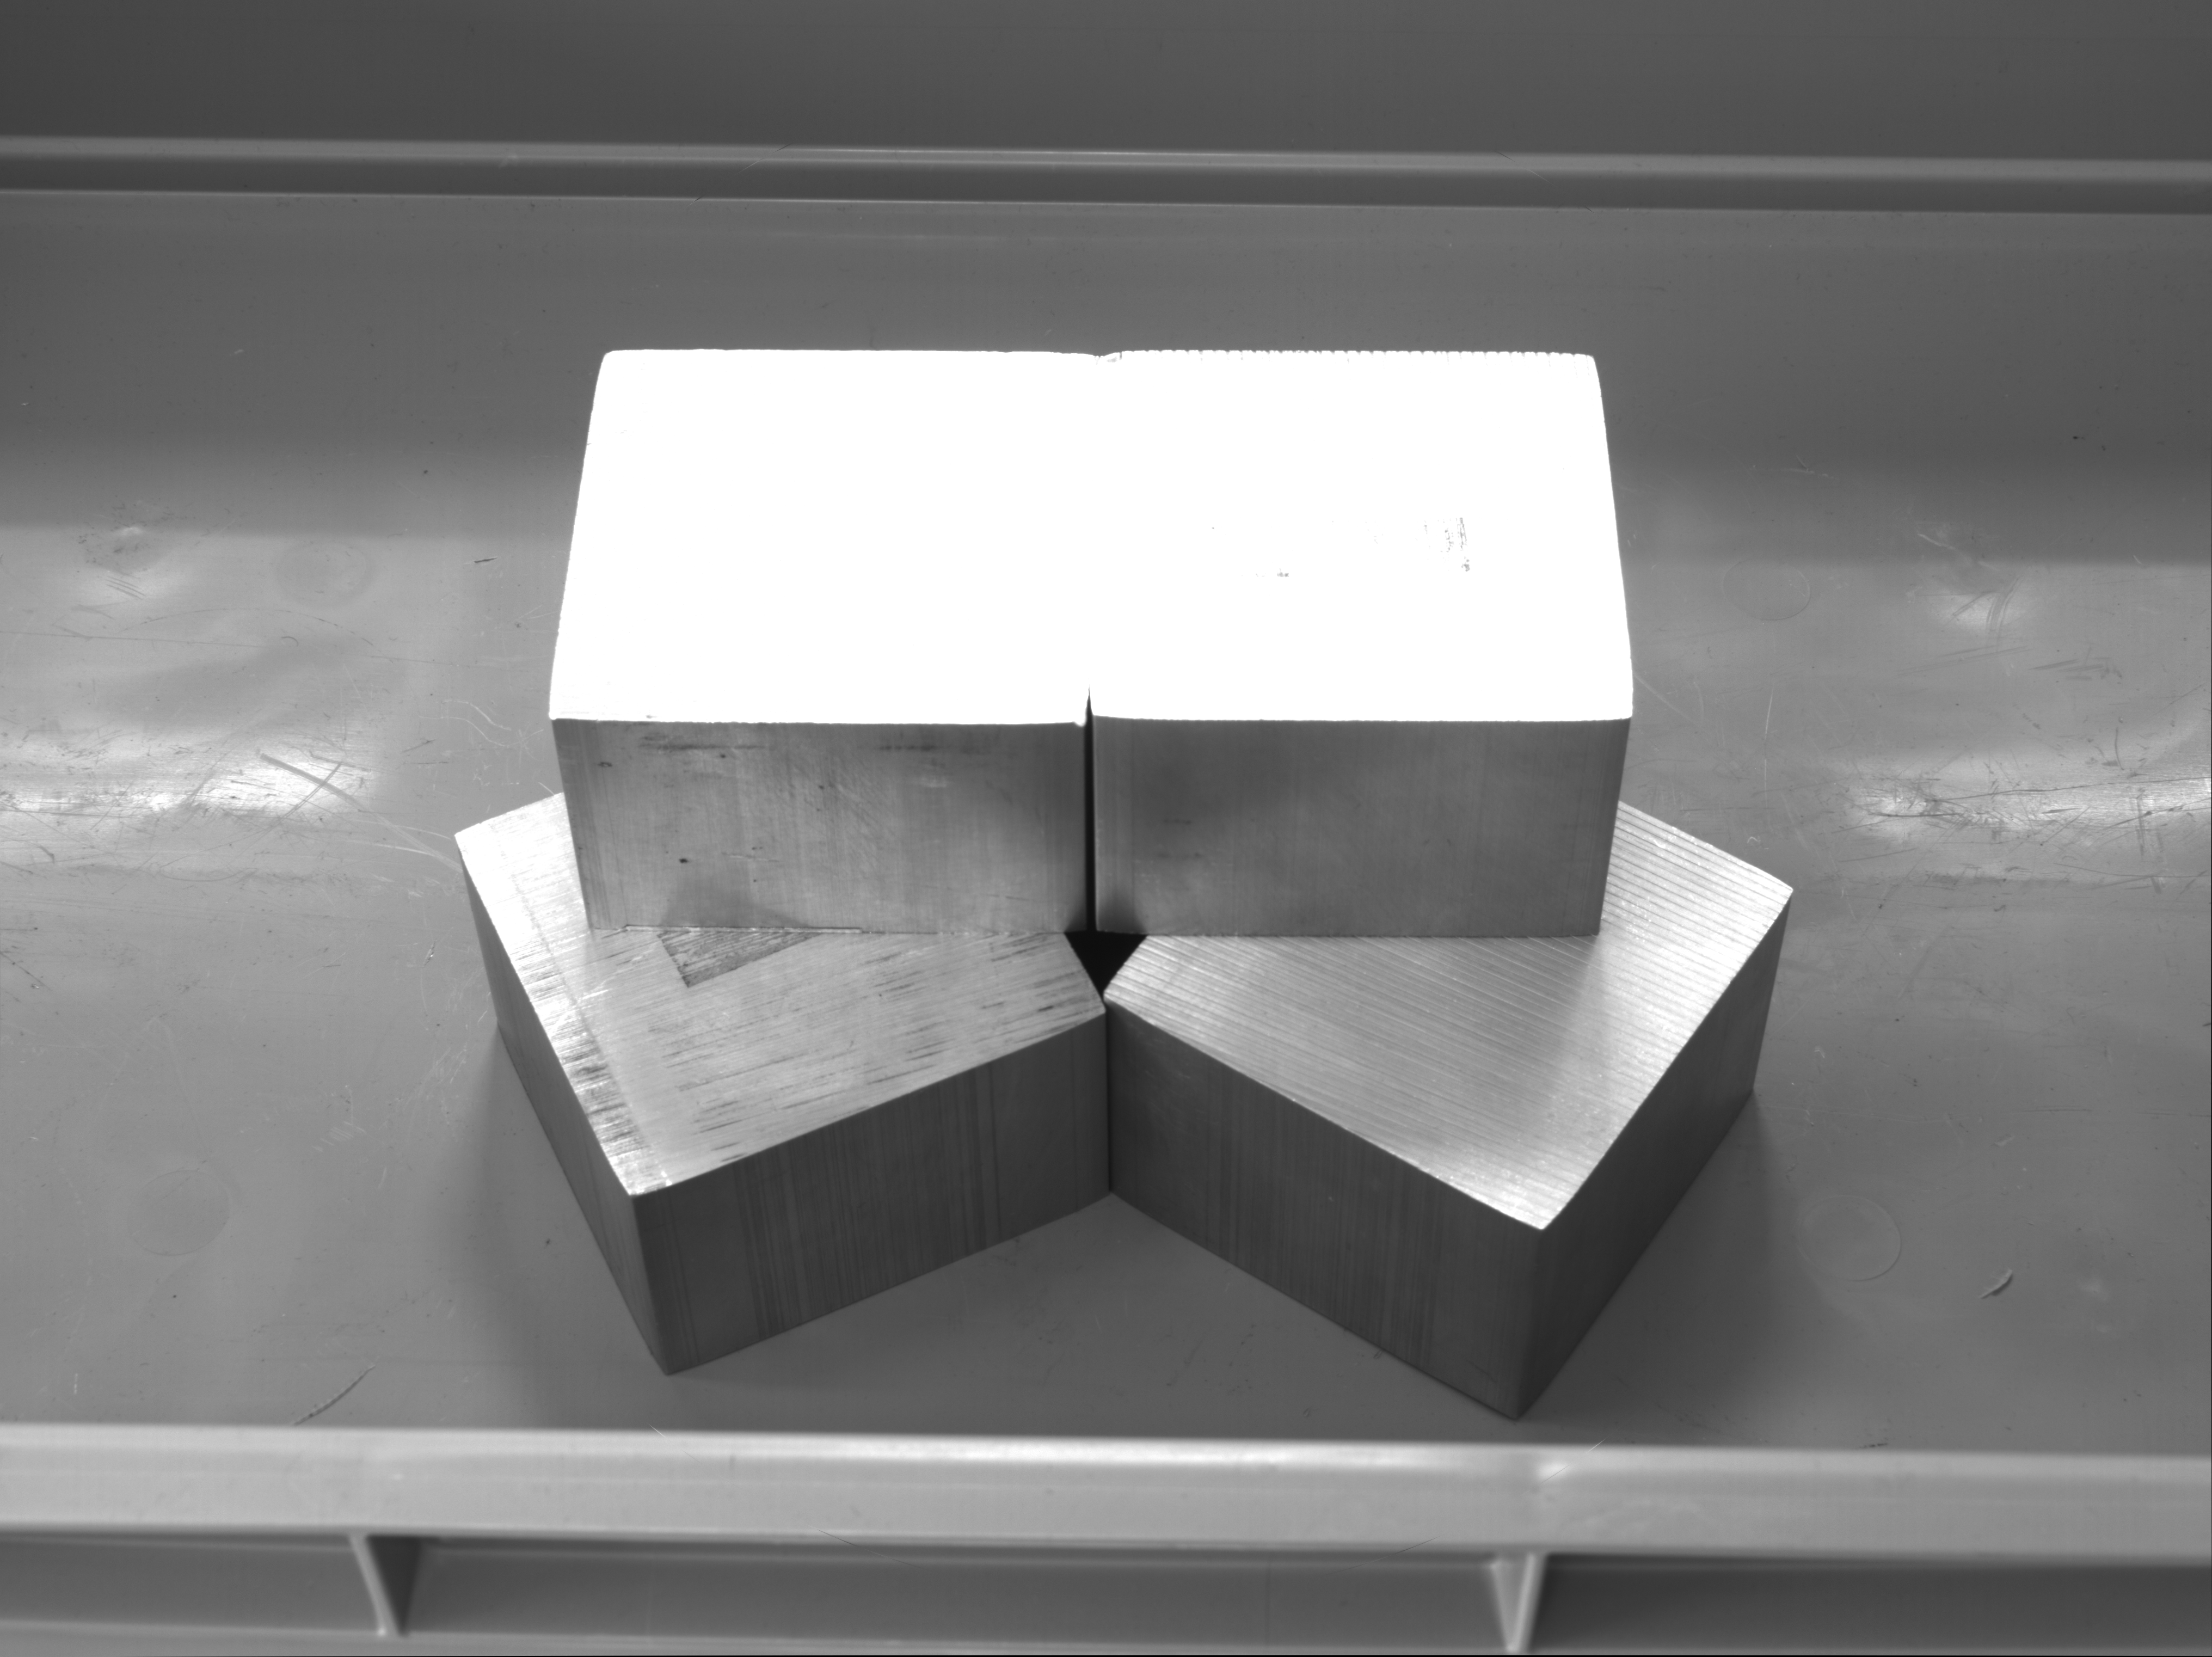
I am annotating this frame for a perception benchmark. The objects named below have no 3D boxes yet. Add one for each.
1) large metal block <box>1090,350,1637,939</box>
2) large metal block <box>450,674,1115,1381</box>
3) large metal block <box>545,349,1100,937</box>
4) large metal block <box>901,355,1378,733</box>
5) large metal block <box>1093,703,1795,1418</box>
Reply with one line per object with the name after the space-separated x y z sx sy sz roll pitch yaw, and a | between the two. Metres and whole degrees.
0.039 -0.030 0.582 0.080 0.050 0.080 1 50 1 | large metal block
-0.052 0.031 0.598 0.080 0.050 0.080 -20 53 -16 | large metal block
-0.042 -0.030 0.584 0.080 0.050 0.080 1 50 1 | large metal block
0.007 -0.038 0.656 0.080 0.050 0.080 1 50 1 | large metal block
0.054 0.034 0.594 0.080 0.050 0.080 27 55 22 | large metal block
